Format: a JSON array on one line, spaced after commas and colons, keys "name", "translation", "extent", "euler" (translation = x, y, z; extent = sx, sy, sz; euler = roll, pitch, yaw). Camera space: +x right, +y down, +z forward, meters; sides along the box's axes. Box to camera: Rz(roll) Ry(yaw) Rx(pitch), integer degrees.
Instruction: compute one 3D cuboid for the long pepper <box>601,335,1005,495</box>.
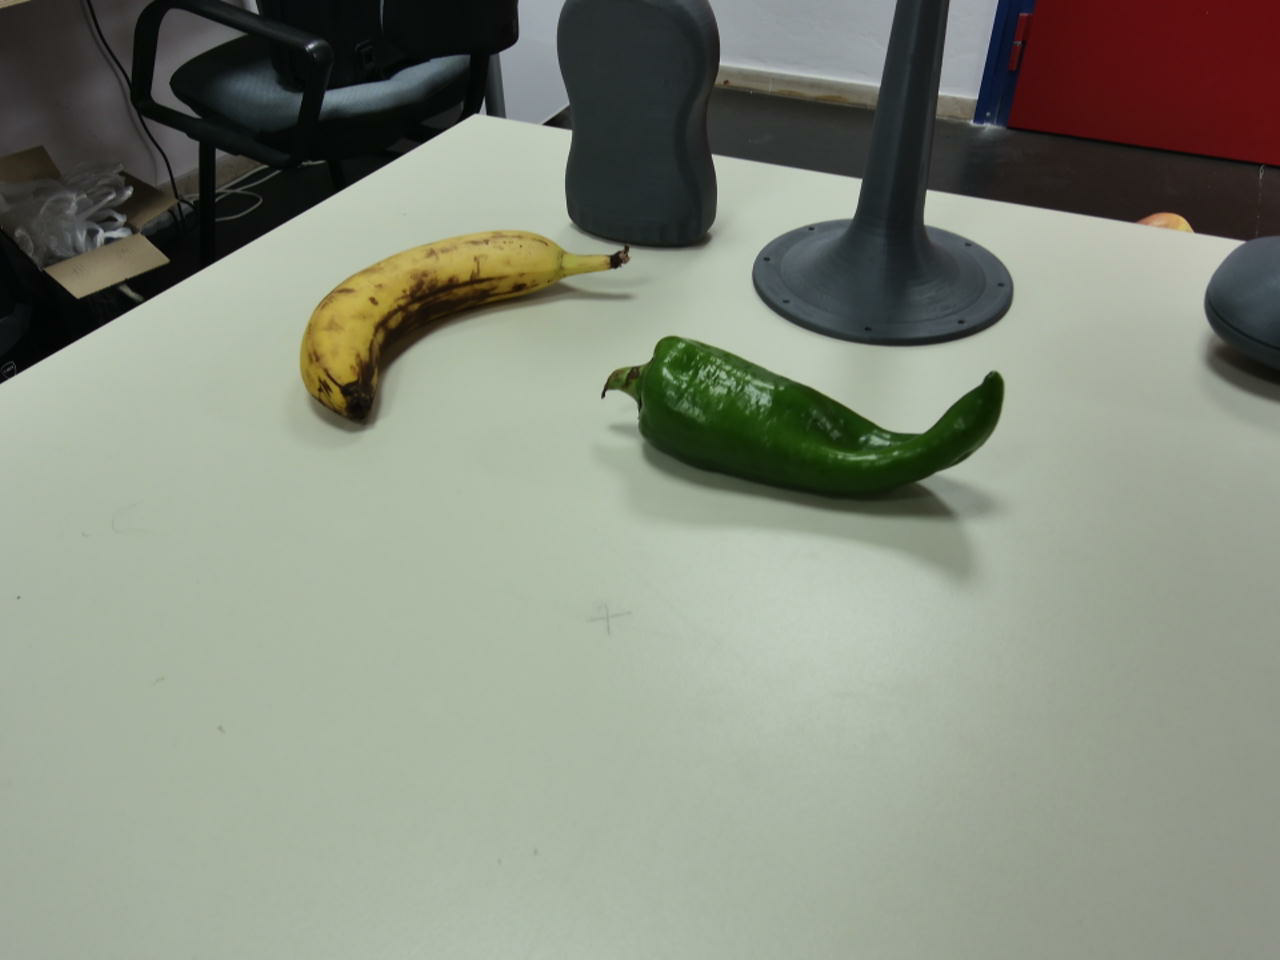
[{"name": "long pepper", "translation": [0.062, -0.032, 0.436], "extent": [0.175, 0.065, 0.058], "euler": [16, 40, 20]}]
